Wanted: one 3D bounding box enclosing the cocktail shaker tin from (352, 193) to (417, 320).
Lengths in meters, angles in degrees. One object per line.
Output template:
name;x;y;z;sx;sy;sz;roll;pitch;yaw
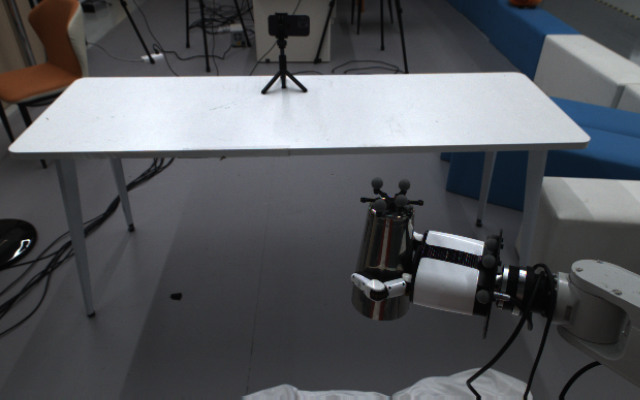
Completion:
cocktail shaker tin;0.100;0.083;0.725;0.093;0.170;0.093;2;28;-1
